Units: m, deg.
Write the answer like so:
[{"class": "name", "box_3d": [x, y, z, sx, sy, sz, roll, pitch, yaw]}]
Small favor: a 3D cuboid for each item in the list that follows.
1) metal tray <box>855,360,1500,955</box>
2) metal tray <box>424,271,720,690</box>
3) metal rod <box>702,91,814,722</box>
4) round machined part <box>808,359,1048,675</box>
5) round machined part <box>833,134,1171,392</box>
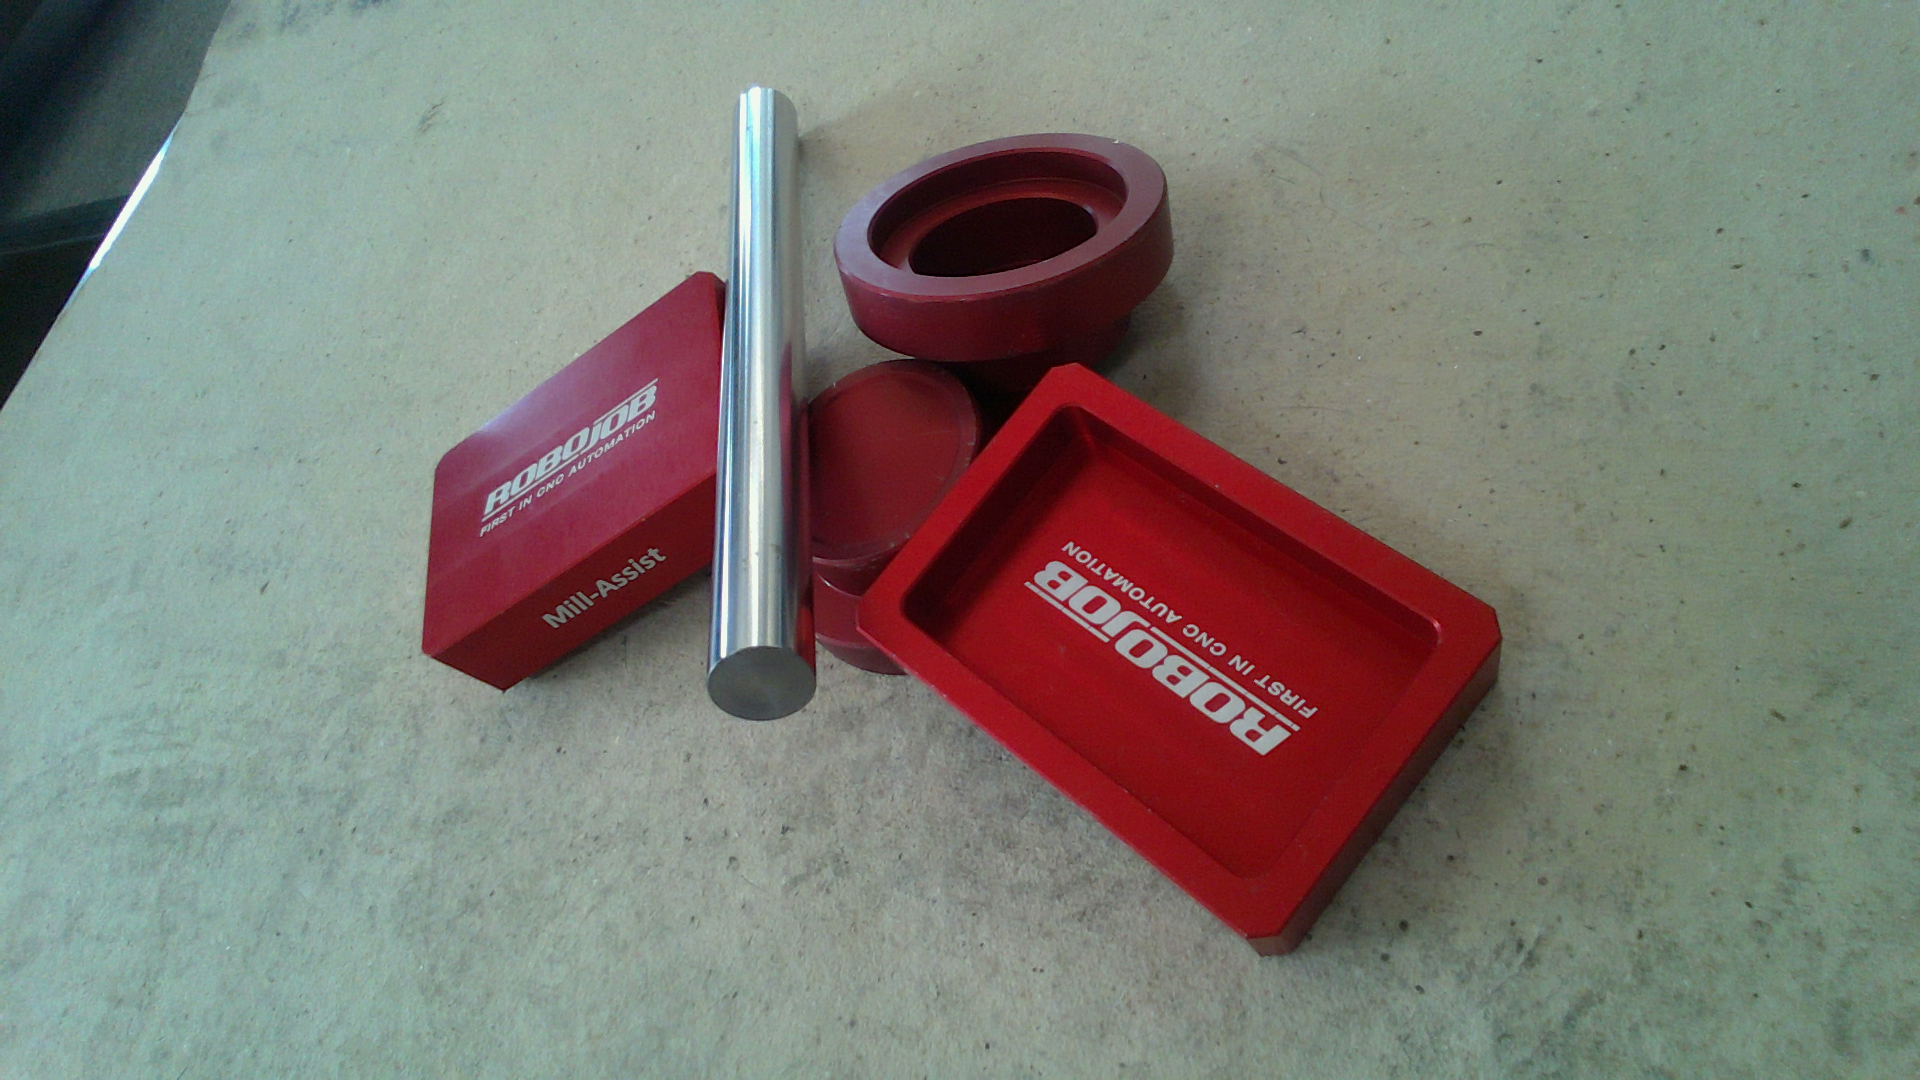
[{"class": "metal tray", "box_3d": [0.049, 0.024, 0.335, 0.130, 0.030, 0.090, 36, 81, 28]}, {"class": "metal tray", "box_3d": [-0.118, -0.019, 0.453, 0.130, 0.030, 0.090, -31, 48, 20]}, {"class": "metal rod", "box_3d": [-0.060, -0.065, 0.424, 0.025, 0.025, 0.300, -24, 39, 14]}, {"class": "round machined part", "box_3d": [-0.017, -0.014, 0.401, 0.098, 0.042, 0.098, -13, 56, 21]}, {"class": "round machined part", "box_3d": [0.015, -0.080, 0.411, 0.098, 0.042, 0.098, -9, 38, 8]}]
